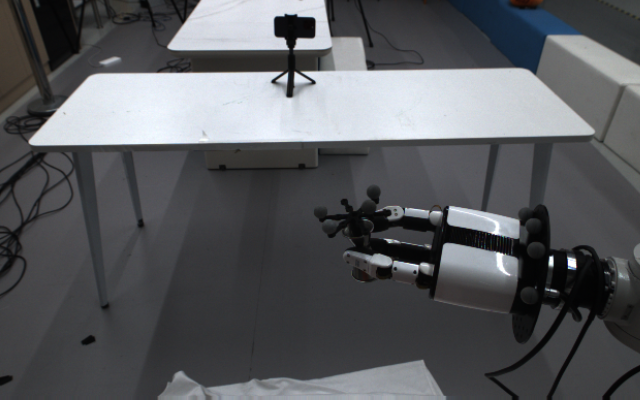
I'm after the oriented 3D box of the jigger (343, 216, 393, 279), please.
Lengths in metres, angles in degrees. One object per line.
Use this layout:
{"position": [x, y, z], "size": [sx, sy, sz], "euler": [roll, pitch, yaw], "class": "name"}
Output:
{"position": [0.055, 0.062, 0.599], "size": [0.043, 0.071, 0.043], "euler": [-12, 29, 7], "class": "jigger"}
